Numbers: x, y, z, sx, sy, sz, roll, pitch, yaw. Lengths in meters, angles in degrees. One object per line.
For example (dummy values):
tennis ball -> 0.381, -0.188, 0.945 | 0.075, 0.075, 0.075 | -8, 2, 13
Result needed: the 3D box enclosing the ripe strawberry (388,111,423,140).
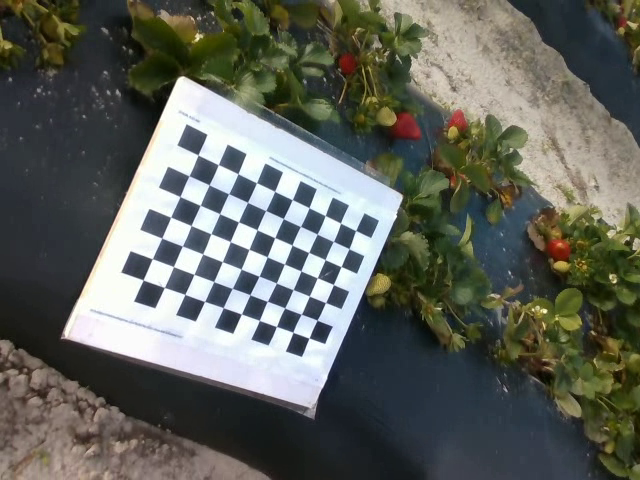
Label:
ripe strawberry -> 0.147, -0.187, 1.040 | 0.051, 0.055, 0.048 | -36, -32, -16
